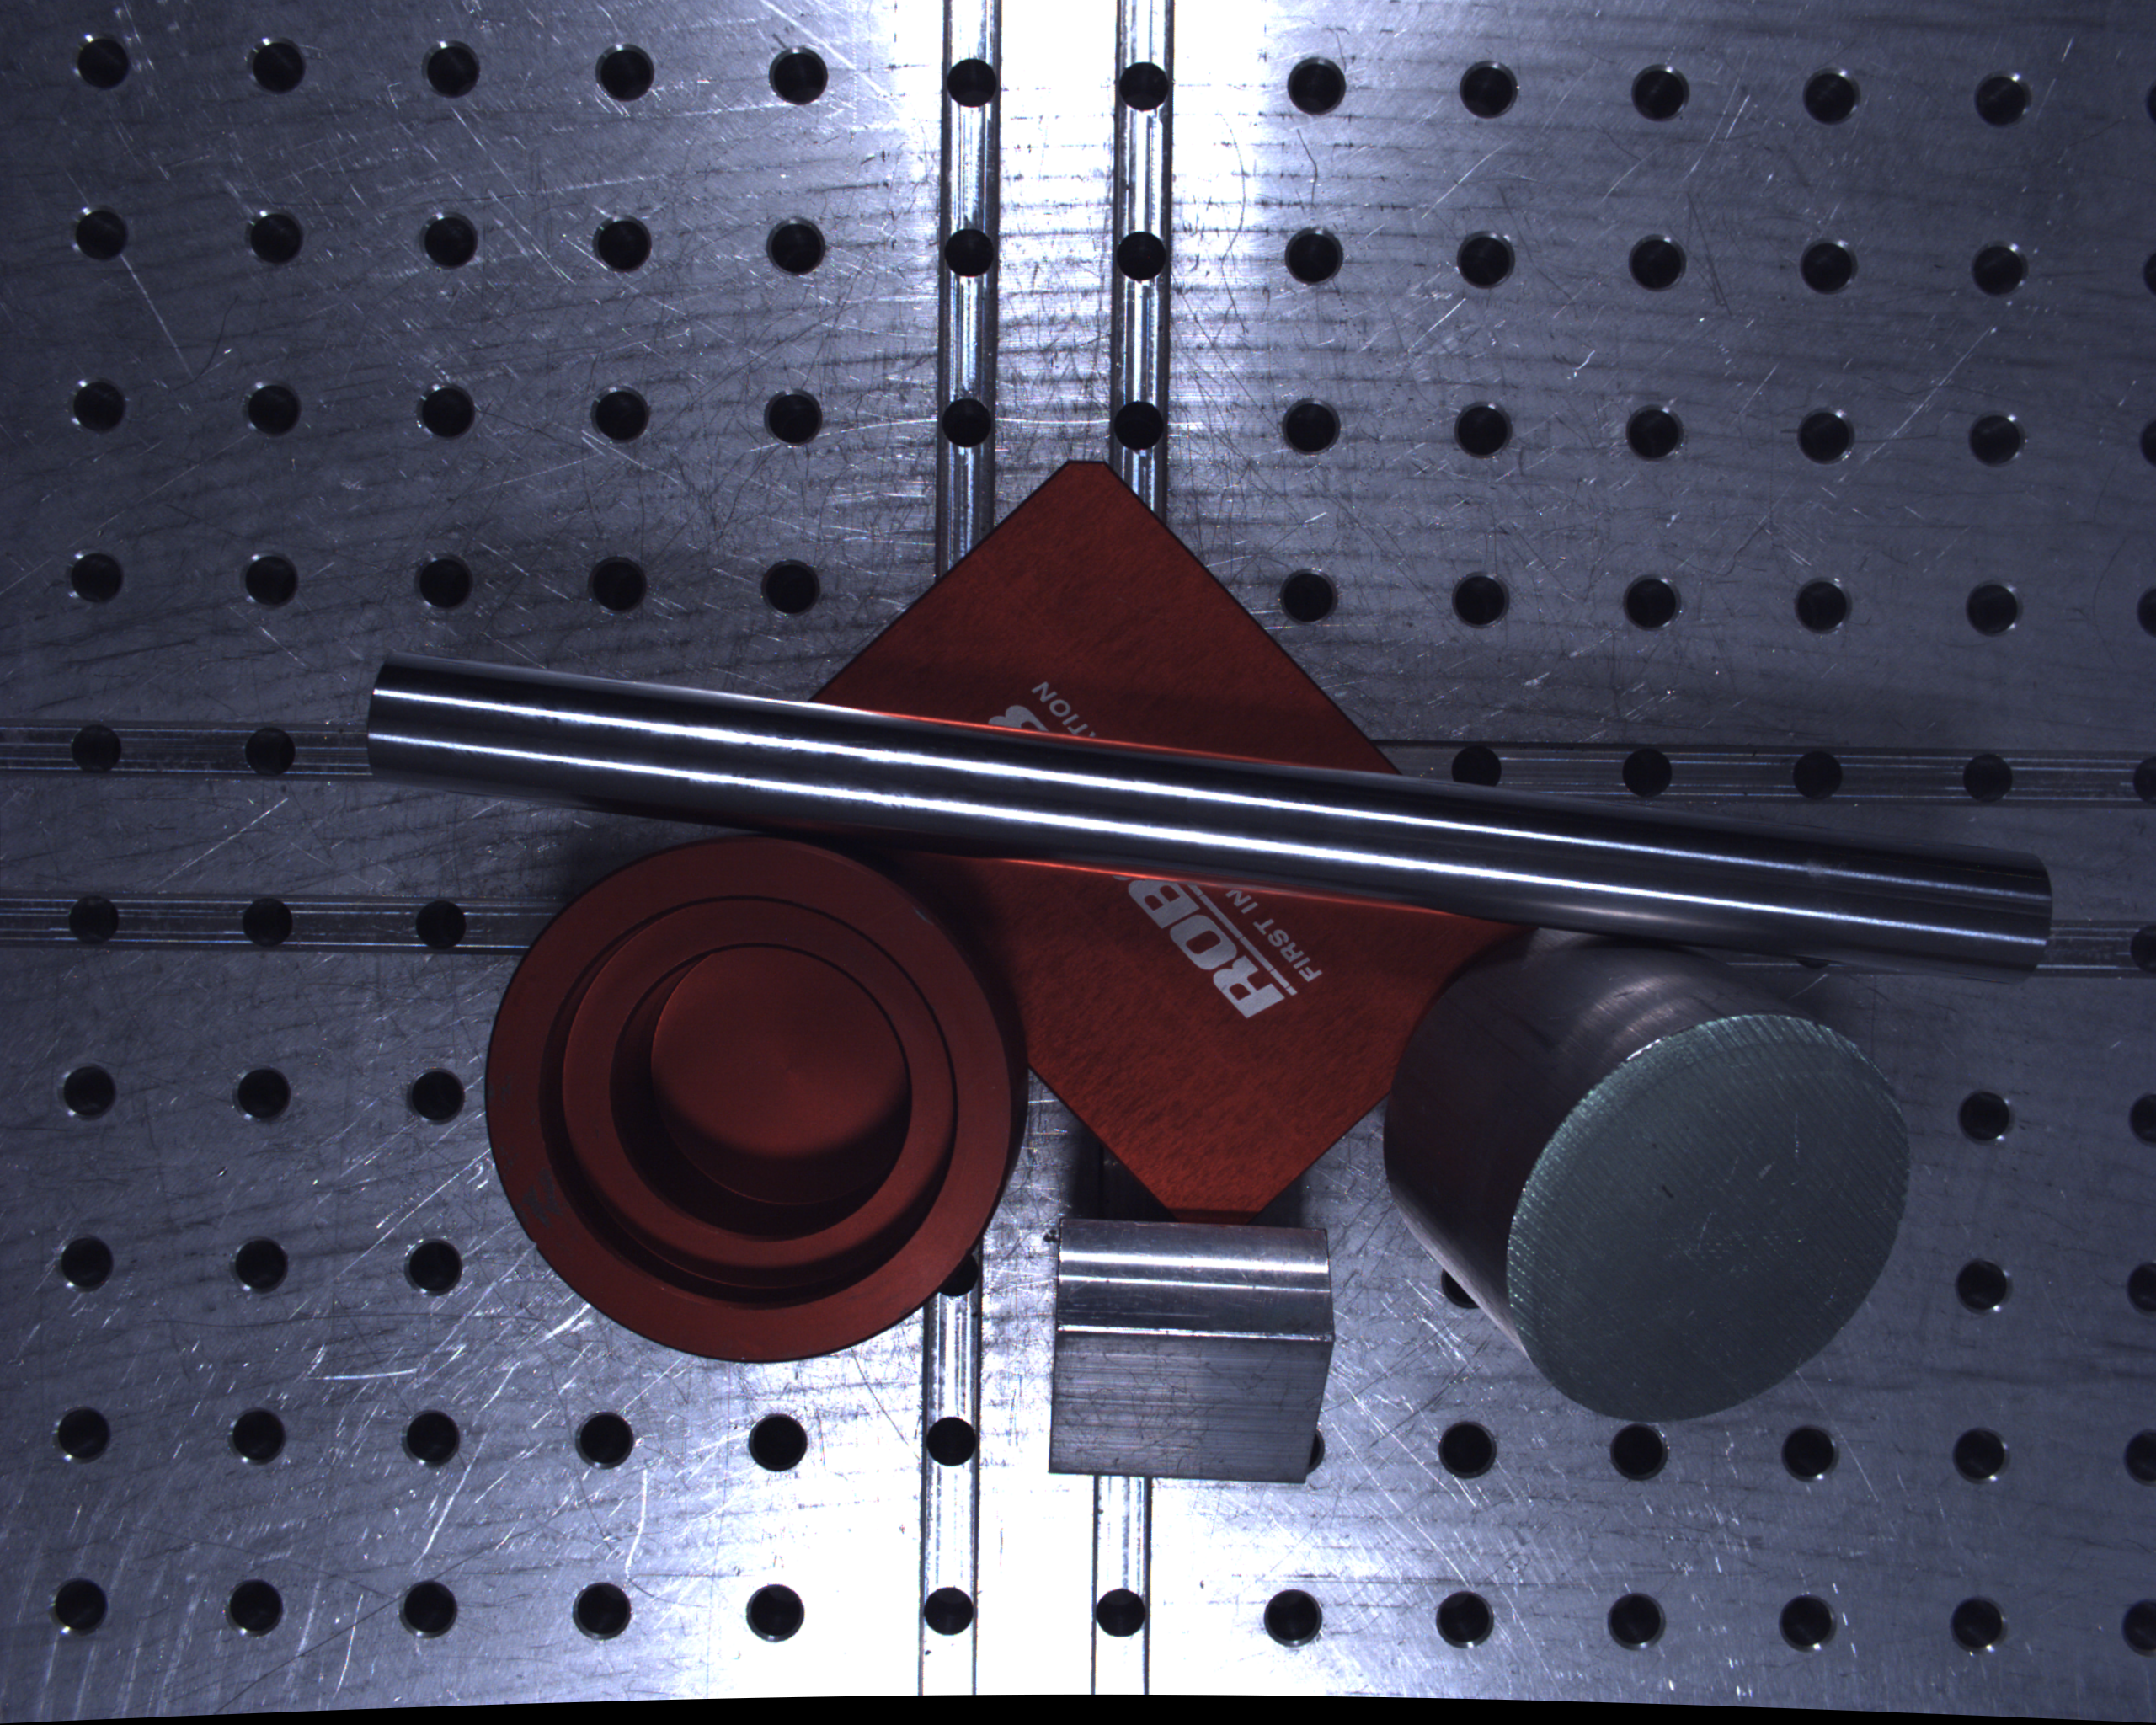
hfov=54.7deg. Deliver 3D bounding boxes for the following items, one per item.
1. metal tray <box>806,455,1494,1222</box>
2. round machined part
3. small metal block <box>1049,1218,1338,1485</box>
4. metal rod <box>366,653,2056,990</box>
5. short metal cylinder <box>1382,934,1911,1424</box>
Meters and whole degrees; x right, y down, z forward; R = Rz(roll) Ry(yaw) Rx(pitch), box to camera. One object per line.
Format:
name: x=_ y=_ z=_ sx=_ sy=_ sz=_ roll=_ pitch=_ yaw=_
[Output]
metal tray: x=0.014 y=-0.004 z=0.412 sx=0.090 sy=0.030 sz=0.130 roll=-43 pitch=91 yaw=0
round machined part: x=-0.059 y=0.041 z=0.399 sx=0.099 sy=0.042 sz=0.097 roll=0 pitch=96 yaw=4
small metal block: x=0.021 y=0.094 z=0.400 sx=0.050 sy=0.025 sz=0.050 roll=3 pitch=133 yaw=-1
metal rod: x=0.024 y=-0.007 z=0.382 sx=0.302 sy=0.025 sz=0.025 roll=7 pitch=90 yaw=-1
short metal cylinder: x=0.104 y=0.056 z=0.387 sx=0.081 sy=0.050 sz=0.079 roll=-6 pitch=110 yaw=-16
